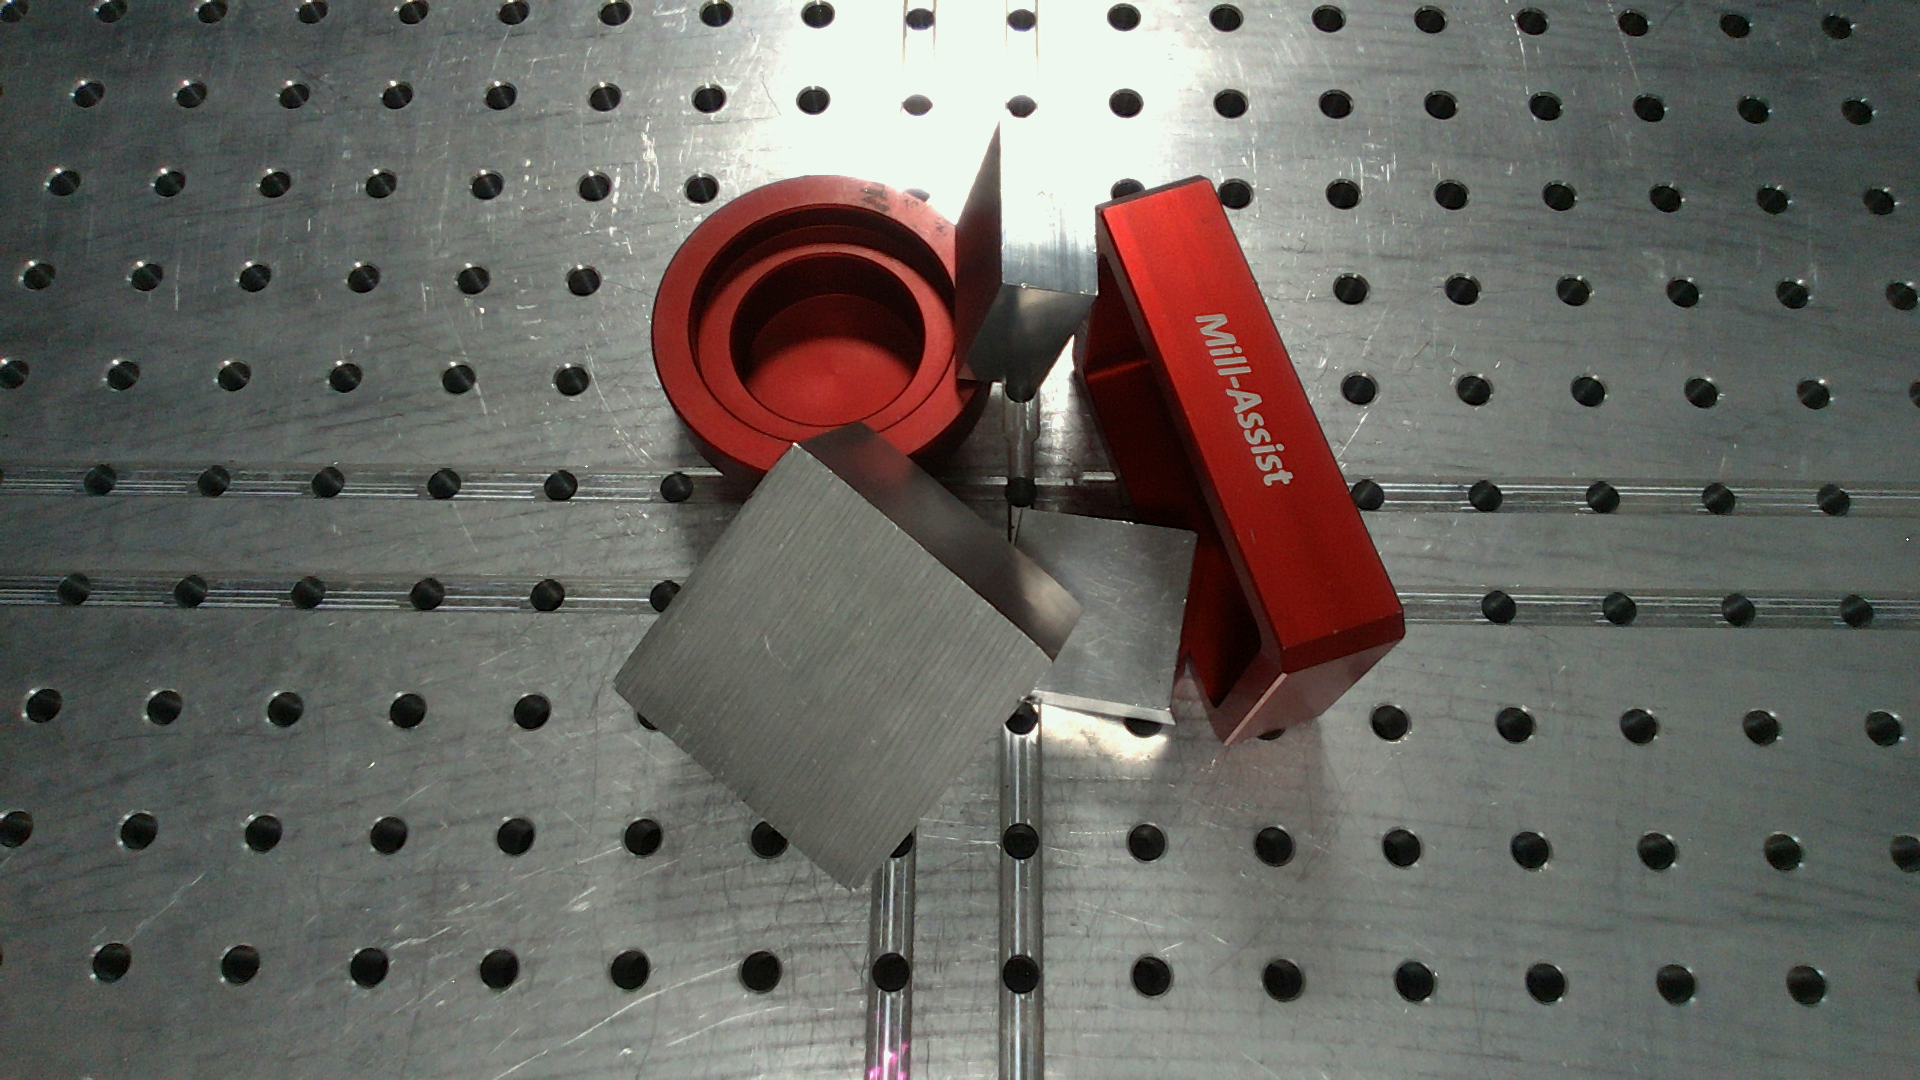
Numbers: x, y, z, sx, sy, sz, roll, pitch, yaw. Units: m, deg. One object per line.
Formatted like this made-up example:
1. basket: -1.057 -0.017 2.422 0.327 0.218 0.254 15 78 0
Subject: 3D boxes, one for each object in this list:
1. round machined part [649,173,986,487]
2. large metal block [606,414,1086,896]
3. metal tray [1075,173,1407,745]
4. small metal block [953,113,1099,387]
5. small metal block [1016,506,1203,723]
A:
1. round machined part: -0.039 -0.055 0.408 0.098 0.042 0.098 0 70 0
2. large metal block: -0.027 0.027 0.350 0.080 0.050 0.080 40 106 2
3. metal tray: 0.068 -0.019 0.369 0.030 0.090 0.130 -17 71 -6
4. small metal block: 0.016 -0.076 0.368 0.025 0.050 0.050 5 68 -13
5. small metal block: 0.039 0.021 0.384 0.050 0.025 0.050 8 74 15
